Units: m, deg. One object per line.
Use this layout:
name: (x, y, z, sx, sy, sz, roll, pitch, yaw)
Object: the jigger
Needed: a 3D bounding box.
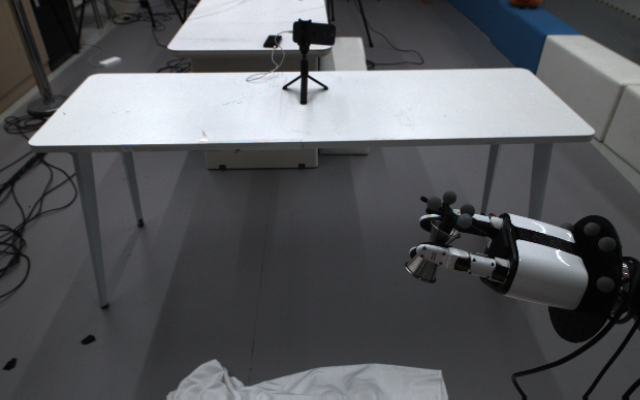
jigger: (0.139, 0.062, 0.601, 0.043, 0.071, 0.043, 23, 19, -8)
